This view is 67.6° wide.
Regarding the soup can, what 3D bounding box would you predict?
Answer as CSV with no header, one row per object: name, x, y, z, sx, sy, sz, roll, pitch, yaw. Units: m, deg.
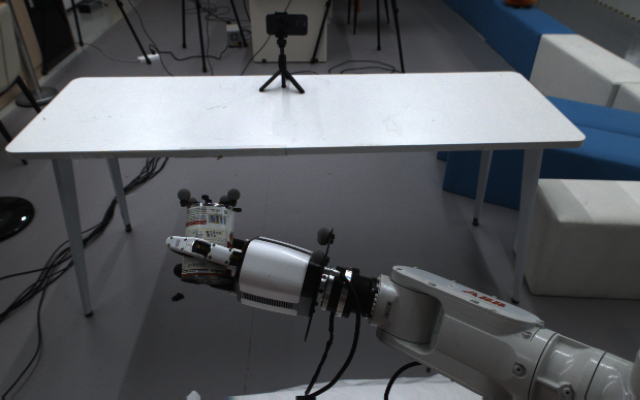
soup can,-0.153,0.062,0.664,0.067,0.067,0.101,1,73,-2
